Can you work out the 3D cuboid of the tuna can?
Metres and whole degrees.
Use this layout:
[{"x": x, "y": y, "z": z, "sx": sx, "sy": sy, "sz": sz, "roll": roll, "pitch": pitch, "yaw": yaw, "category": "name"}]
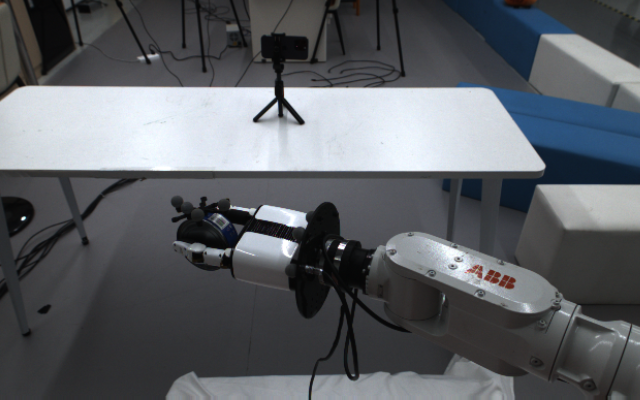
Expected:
[{"x": -0.161, "y": 0.058, "z": 0.701, "sx": 0.085, "sy": 0.085, "sz": 0.034, "roll": 14, "pitch": 28, "yaw": 17, "category": "tuna can"}]
